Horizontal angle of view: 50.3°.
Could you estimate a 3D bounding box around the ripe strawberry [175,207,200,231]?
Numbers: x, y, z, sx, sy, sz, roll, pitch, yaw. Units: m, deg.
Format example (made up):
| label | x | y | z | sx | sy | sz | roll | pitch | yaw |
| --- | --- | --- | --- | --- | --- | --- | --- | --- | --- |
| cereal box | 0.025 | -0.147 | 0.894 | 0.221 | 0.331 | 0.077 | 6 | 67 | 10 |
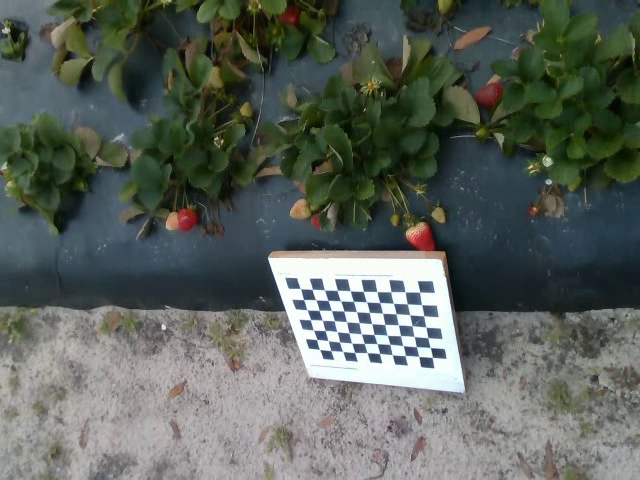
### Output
| label | x | y | z | sx | sy | sz | roll | pitch | yaw |
| --- | --- | --- | --- | --- | --- | --- | --- | --- | --- |
| ripe strawberry | -0.218 | -0.031 | 1.084 | 0.034 | 0.042 | 0.033 | 26 | -19 | 7 |
